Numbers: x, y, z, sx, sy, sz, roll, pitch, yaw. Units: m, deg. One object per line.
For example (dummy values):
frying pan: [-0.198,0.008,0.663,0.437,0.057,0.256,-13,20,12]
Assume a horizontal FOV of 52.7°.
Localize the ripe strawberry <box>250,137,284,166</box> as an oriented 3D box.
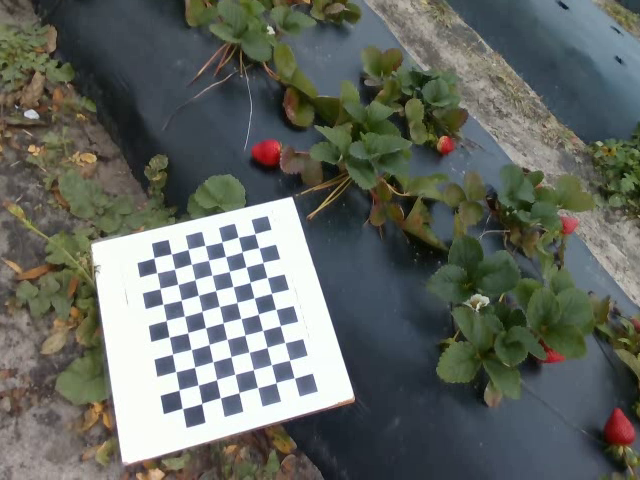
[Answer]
ripe strawberry: [-0.055,-0.090,0.613,0.032,0.029,0.022,0,-31,-3]
